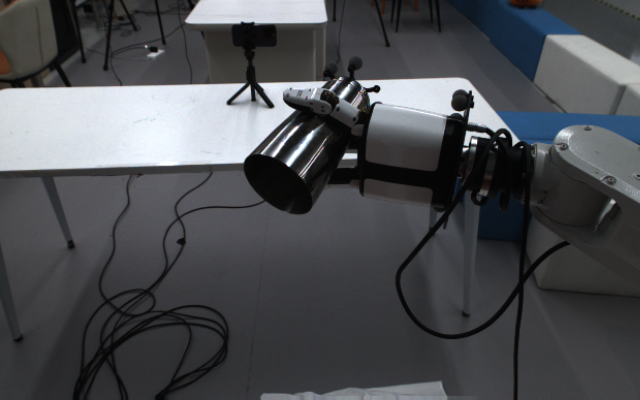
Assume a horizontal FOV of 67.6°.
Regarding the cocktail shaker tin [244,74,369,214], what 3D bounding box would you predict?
[{"bbox_3d":[-0.003,-0.079,0.581,0.093,0.093,0.170,19,55,22],"label":"cocktail shaker tin"}]
